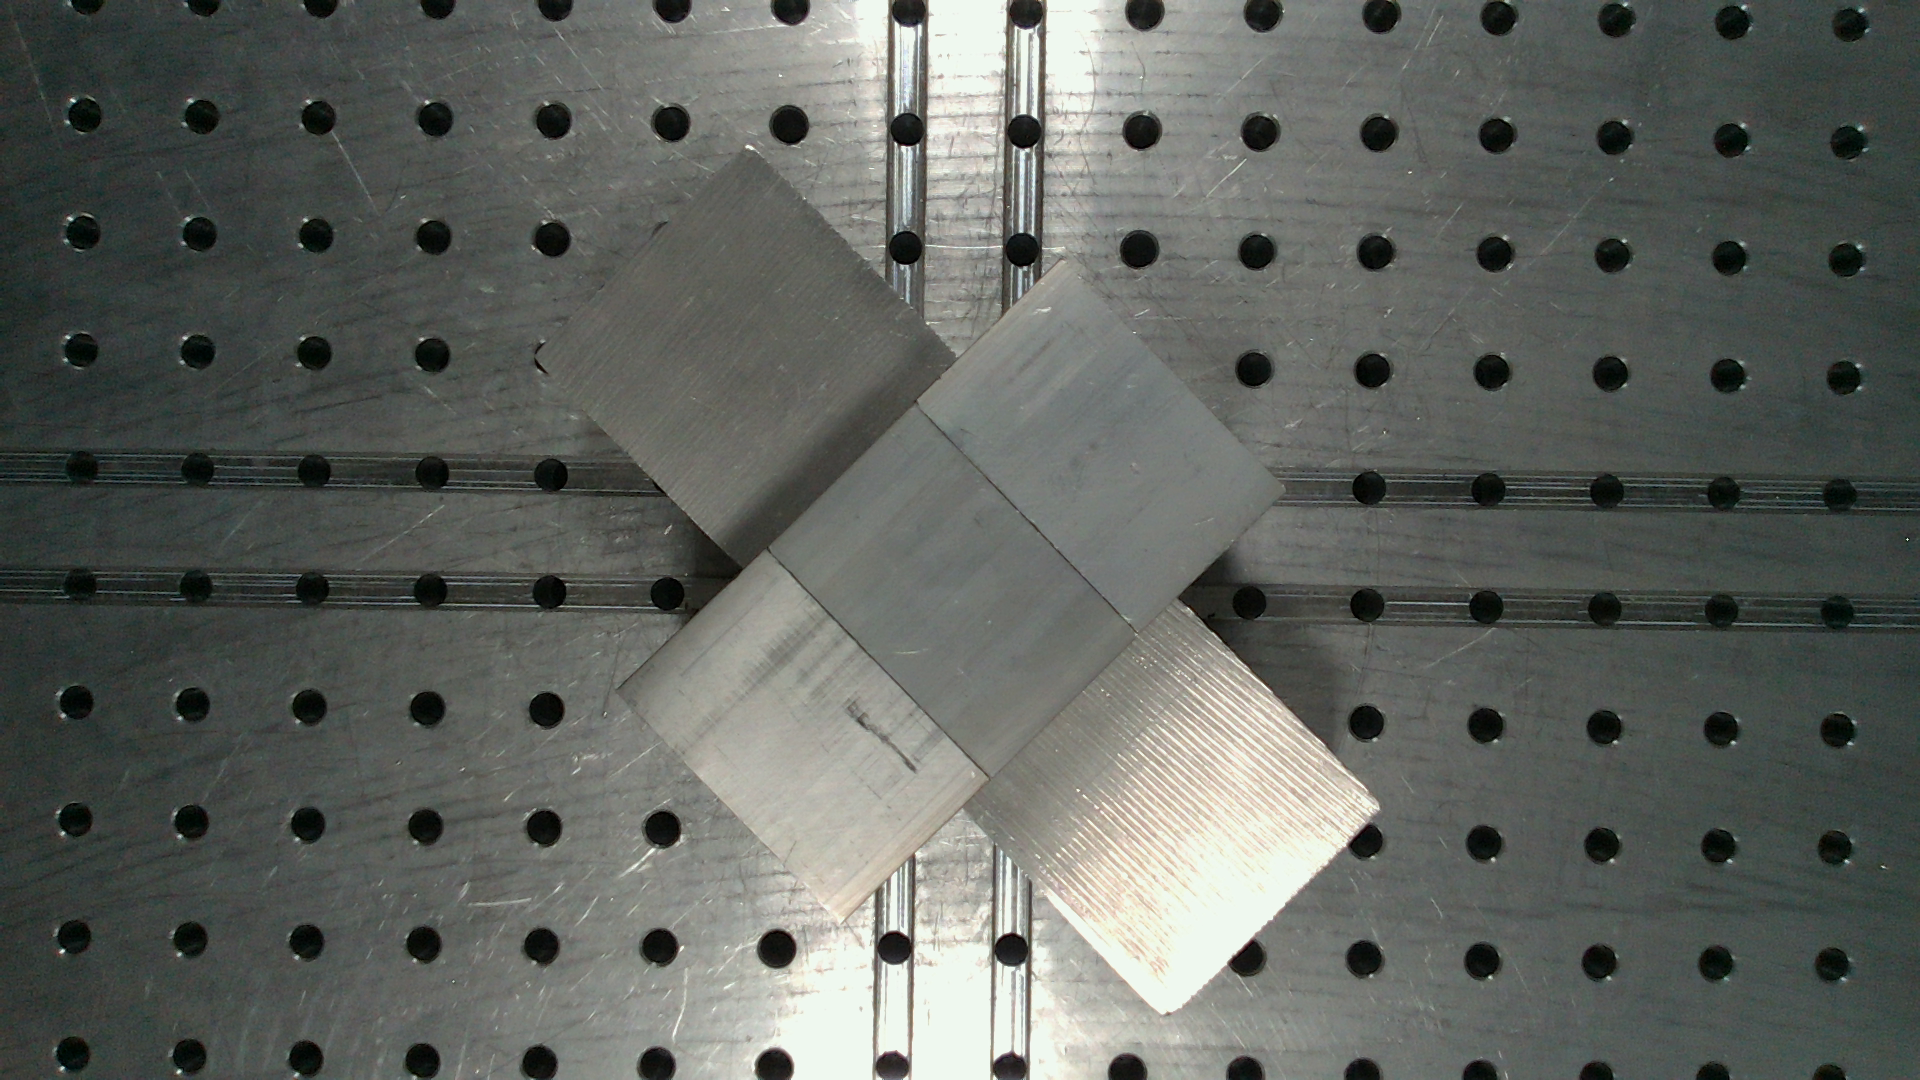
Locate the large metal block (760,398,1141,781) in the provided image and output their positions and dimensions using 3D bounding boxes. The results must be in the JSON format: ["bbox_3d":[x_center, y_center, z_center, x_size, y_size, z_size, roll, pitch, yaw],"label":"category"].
[{"bbox_3d":[-0.002,0.012,0.371,0.050,0.080,0.080,-44,90,0],"label":"large metal block"}]

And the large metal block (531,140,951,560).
[{"bbox_3d":[-0.055,-0.048,0.382,0.080,0.050,0.080,45,91,0],"label":"large metal block"}]

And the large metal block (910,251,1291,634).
[{"bbox_3d":[0.034,-0.024,0.371,0.050,0.080,0.080,-44,90,0],"label":"large metal block"}]

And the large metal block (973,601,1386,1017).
[{"bbox_3d":[0.055,0.069,0.386,0.080,0.050,0.080,-44,90,1],"label":"large metal block"}]

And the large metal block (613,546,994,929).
[{"bbox_3d":[-0.037,0.047,0.371,0.050,0.080,0.080,-44,90,0],"label":"large metal block"}]
